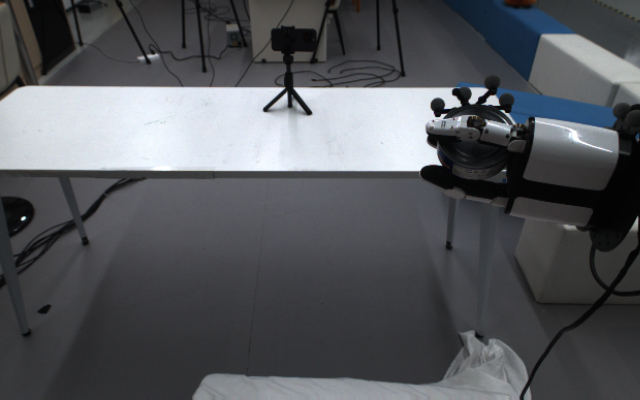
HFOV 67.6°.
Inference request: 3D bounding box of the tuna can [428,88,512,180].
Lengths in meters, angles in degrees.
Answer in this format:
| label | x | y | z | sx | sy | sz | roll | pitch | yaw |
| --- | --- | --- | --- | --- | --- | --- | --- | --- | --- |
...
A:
| label | x | y | z | sx | sy | sz | roll | pitch | yaw |
| --- | --- | --- | --- | --- | --- | --- | --- | --- | --- |
| tuna can | 0.178 | -0.069 | 0.560 | 0.085 | 0.034 | 0.085 | -6 | 59 | 11 |
